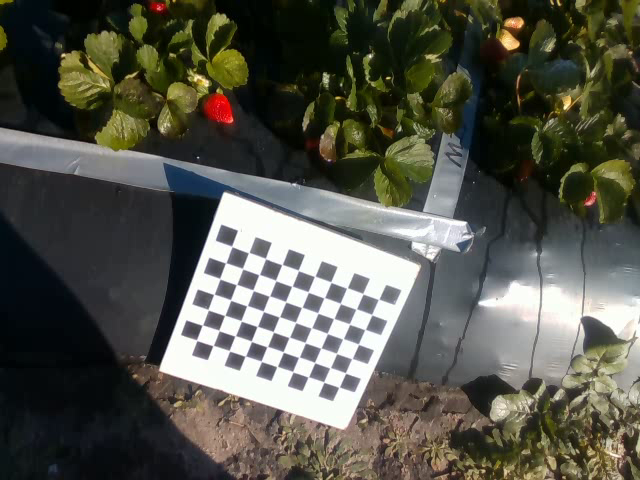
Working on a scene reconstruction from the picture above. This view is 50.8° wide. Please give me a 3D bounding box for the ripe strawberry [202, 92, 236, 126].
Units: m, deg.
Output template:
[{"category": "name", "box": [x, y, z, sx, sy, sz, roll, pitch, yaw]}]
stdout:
[{"category": "ripe strawberry", "box": [-0.141, -0.180, 0.922, 0.045, 0.059, 0.042, -41, -4, 6]}]
